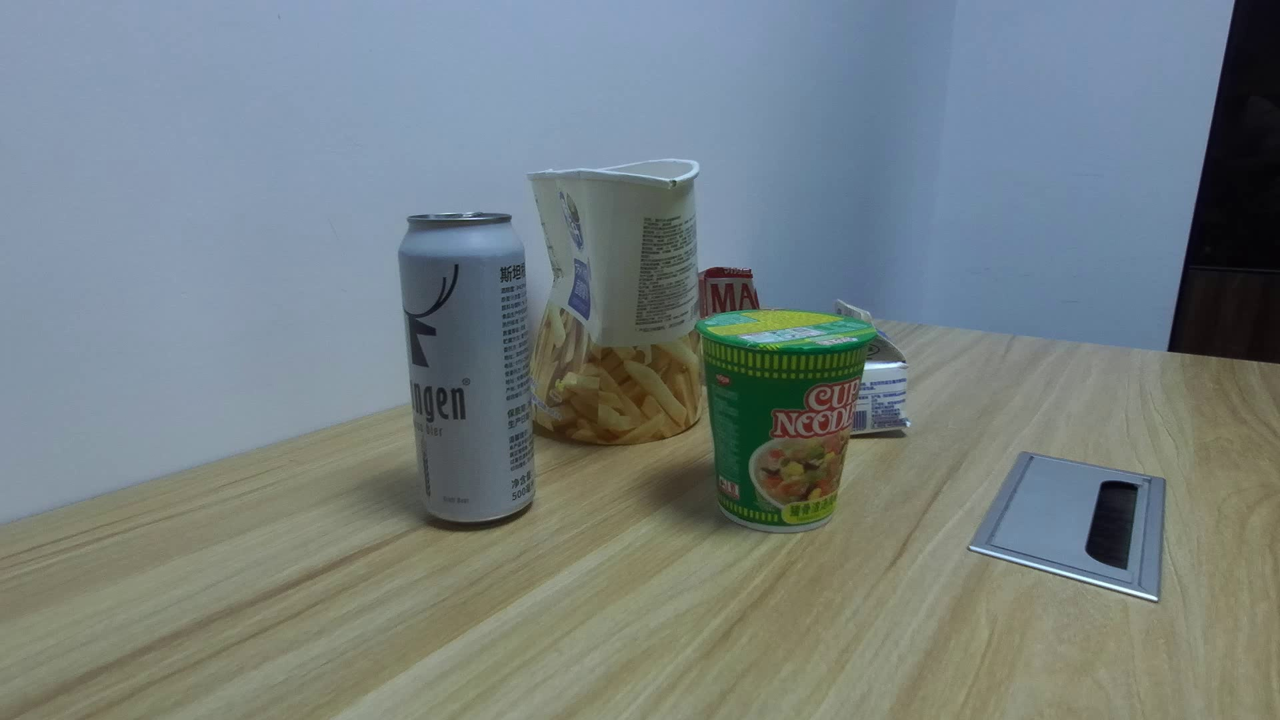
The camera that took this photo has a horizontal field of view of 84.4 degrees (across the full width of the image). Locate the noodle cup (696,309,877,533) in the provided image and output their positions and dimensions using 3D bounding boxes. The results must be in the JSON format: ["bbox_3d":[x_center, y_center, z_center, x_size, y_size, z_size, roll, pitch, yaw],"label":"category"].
[{"bbox_3d":[0.080,0.033,0.400,0.097,0.110,0.097,-1,16,1],"label":"noodle cup"}]

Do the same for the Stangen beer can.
[{"bbox_3d":[-0.095,0.005,0.399,0.067,0.171,0.067,-1,14,0],"label":"Stangen beer can"}]

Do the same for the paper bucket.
[{"bbox_3d":[-0.021,-0.051,0.545,0.217,0.199,0.148,12,19,39],"label":"paper bucket"}]

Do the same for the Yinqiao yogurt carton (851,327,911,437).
[{"bbox_3d":[0.160,0.003,0.539,0.071,0.094,0.077,-7,17,1],"label":"Yinqiao yogurt carton"}]
